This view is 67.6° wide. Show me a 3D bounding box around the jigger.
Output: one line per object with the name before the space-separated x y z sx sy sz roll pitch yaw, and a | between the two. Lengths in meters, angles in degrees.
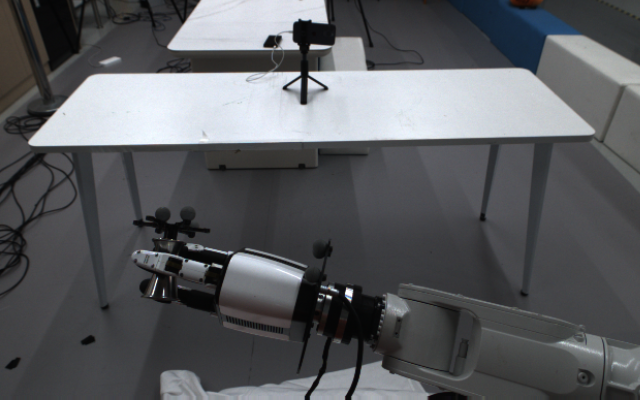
jigger | -0.180 0.081 0.566 0.043 0.043 0.071 4 75 2
